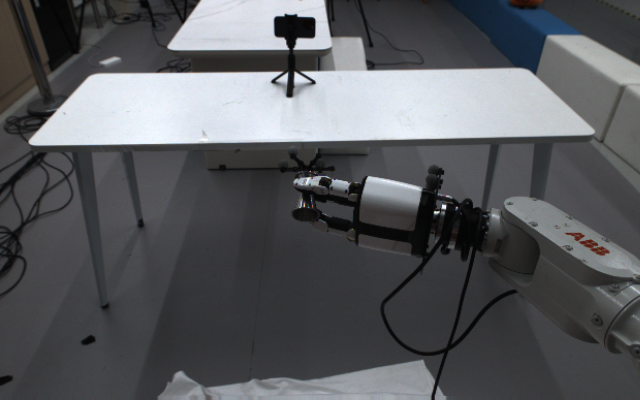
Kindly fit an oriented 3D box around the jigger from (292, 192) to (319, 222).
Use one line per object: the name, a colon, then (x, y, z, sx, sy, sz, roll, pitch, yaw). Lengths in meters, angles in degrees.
jigger: (-0.022, -0.010, 0.747, 0.043, 0.043, 0.071, 2, 59, 0)
